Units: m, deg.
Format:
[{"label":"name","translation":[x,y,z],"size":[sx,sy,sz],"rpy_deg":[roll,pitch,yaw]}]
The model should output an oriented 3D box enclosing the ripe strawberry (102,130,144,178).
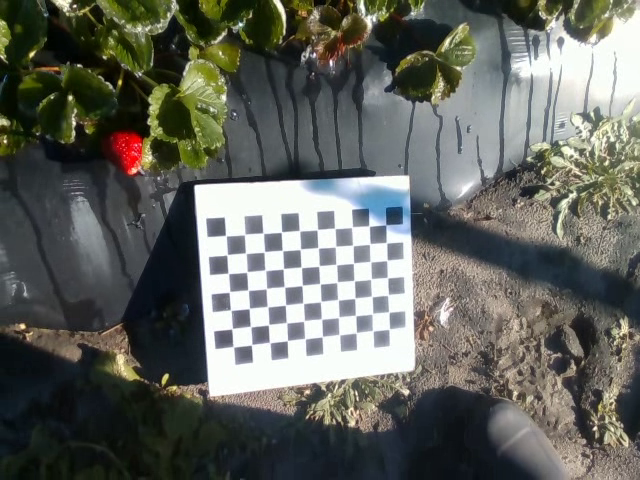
[{"label":"ripe strawberry","translation":[-0.184,-0.081,0.568],"size":[0.041,0.053,0.047],"rpy_deg":[-11,-30,-14]}]
